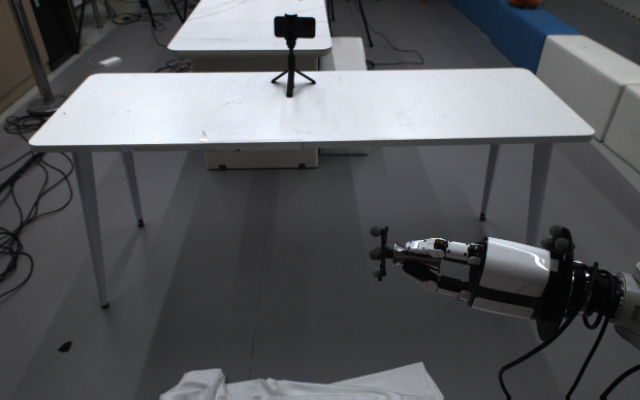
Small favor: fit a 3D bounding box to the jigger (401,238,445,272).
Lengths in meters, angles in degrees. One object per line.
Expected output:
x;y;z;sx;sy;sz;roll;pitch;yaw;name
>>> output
0.153;0.079;0.727;0.071;0.043;0.043;2;34;15;jigger
